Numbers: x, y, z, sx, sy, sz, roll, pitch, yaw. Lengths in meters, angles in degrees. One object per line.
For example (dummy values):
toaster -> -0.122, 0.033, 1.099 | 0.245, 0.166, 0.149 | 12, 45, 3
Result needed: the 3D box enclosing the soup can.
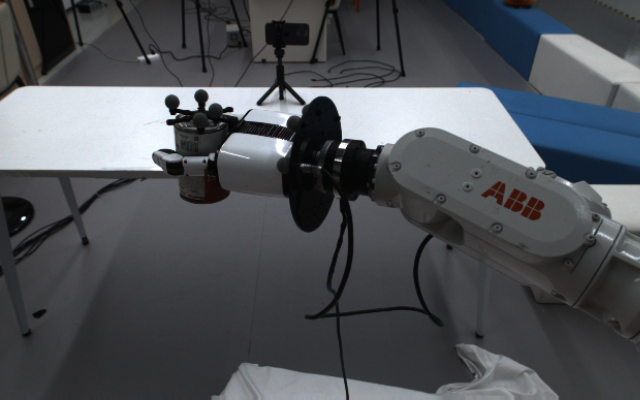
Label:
soup can -> -0.149, -0.054, 0.618 | 0.067, 0.101, 0.067 | 4, 31, -2
